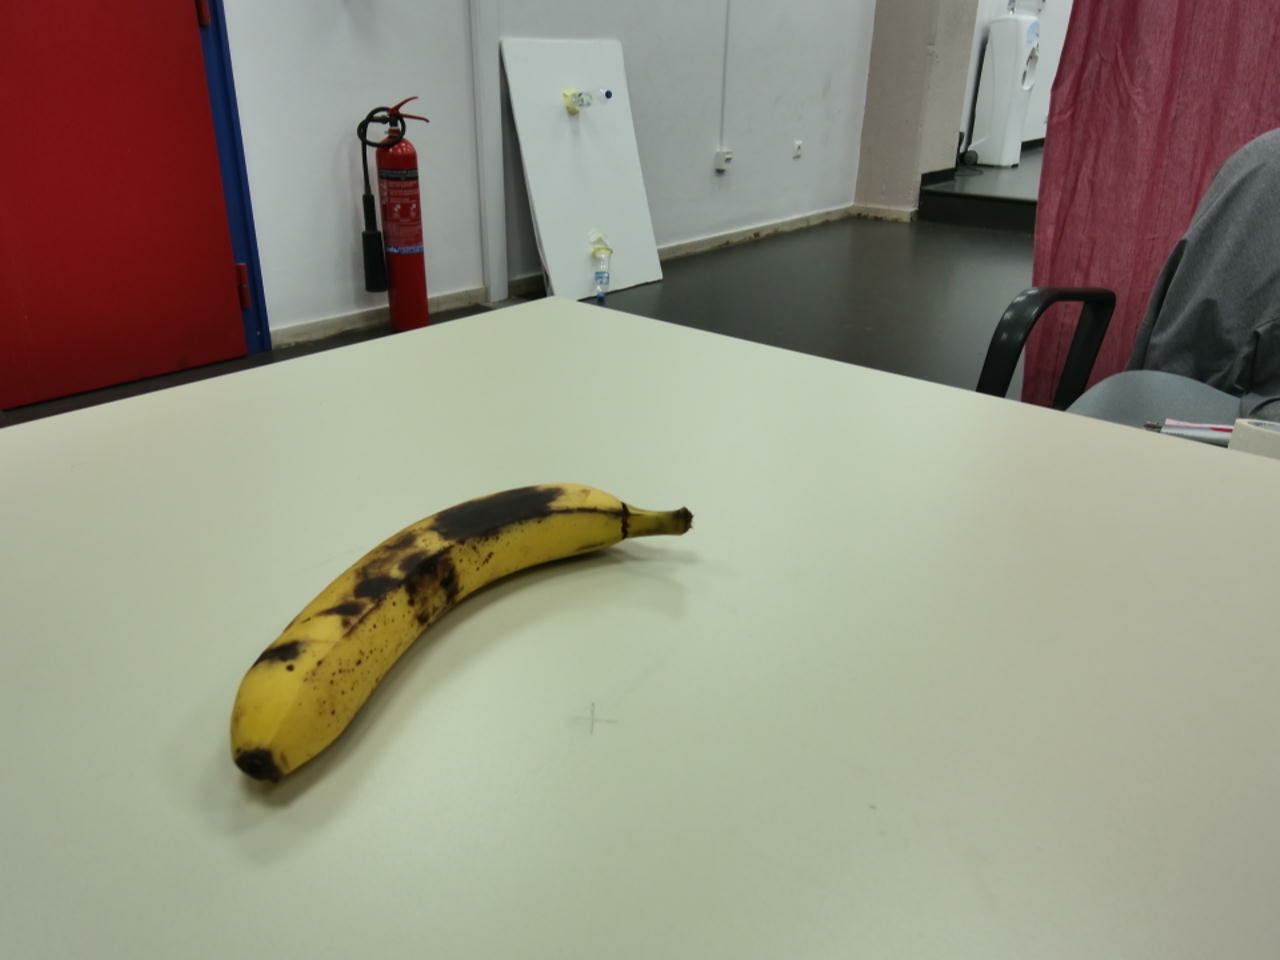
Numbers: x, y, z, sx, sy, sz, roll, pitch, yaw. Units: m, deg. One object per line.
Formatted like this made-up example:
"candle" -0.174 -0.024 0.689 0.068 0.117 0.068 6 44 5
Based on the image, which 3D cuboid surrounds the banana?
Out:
"banana" -0.075 0.042 0.397 0.084 0.037 0.222 18 28 35
